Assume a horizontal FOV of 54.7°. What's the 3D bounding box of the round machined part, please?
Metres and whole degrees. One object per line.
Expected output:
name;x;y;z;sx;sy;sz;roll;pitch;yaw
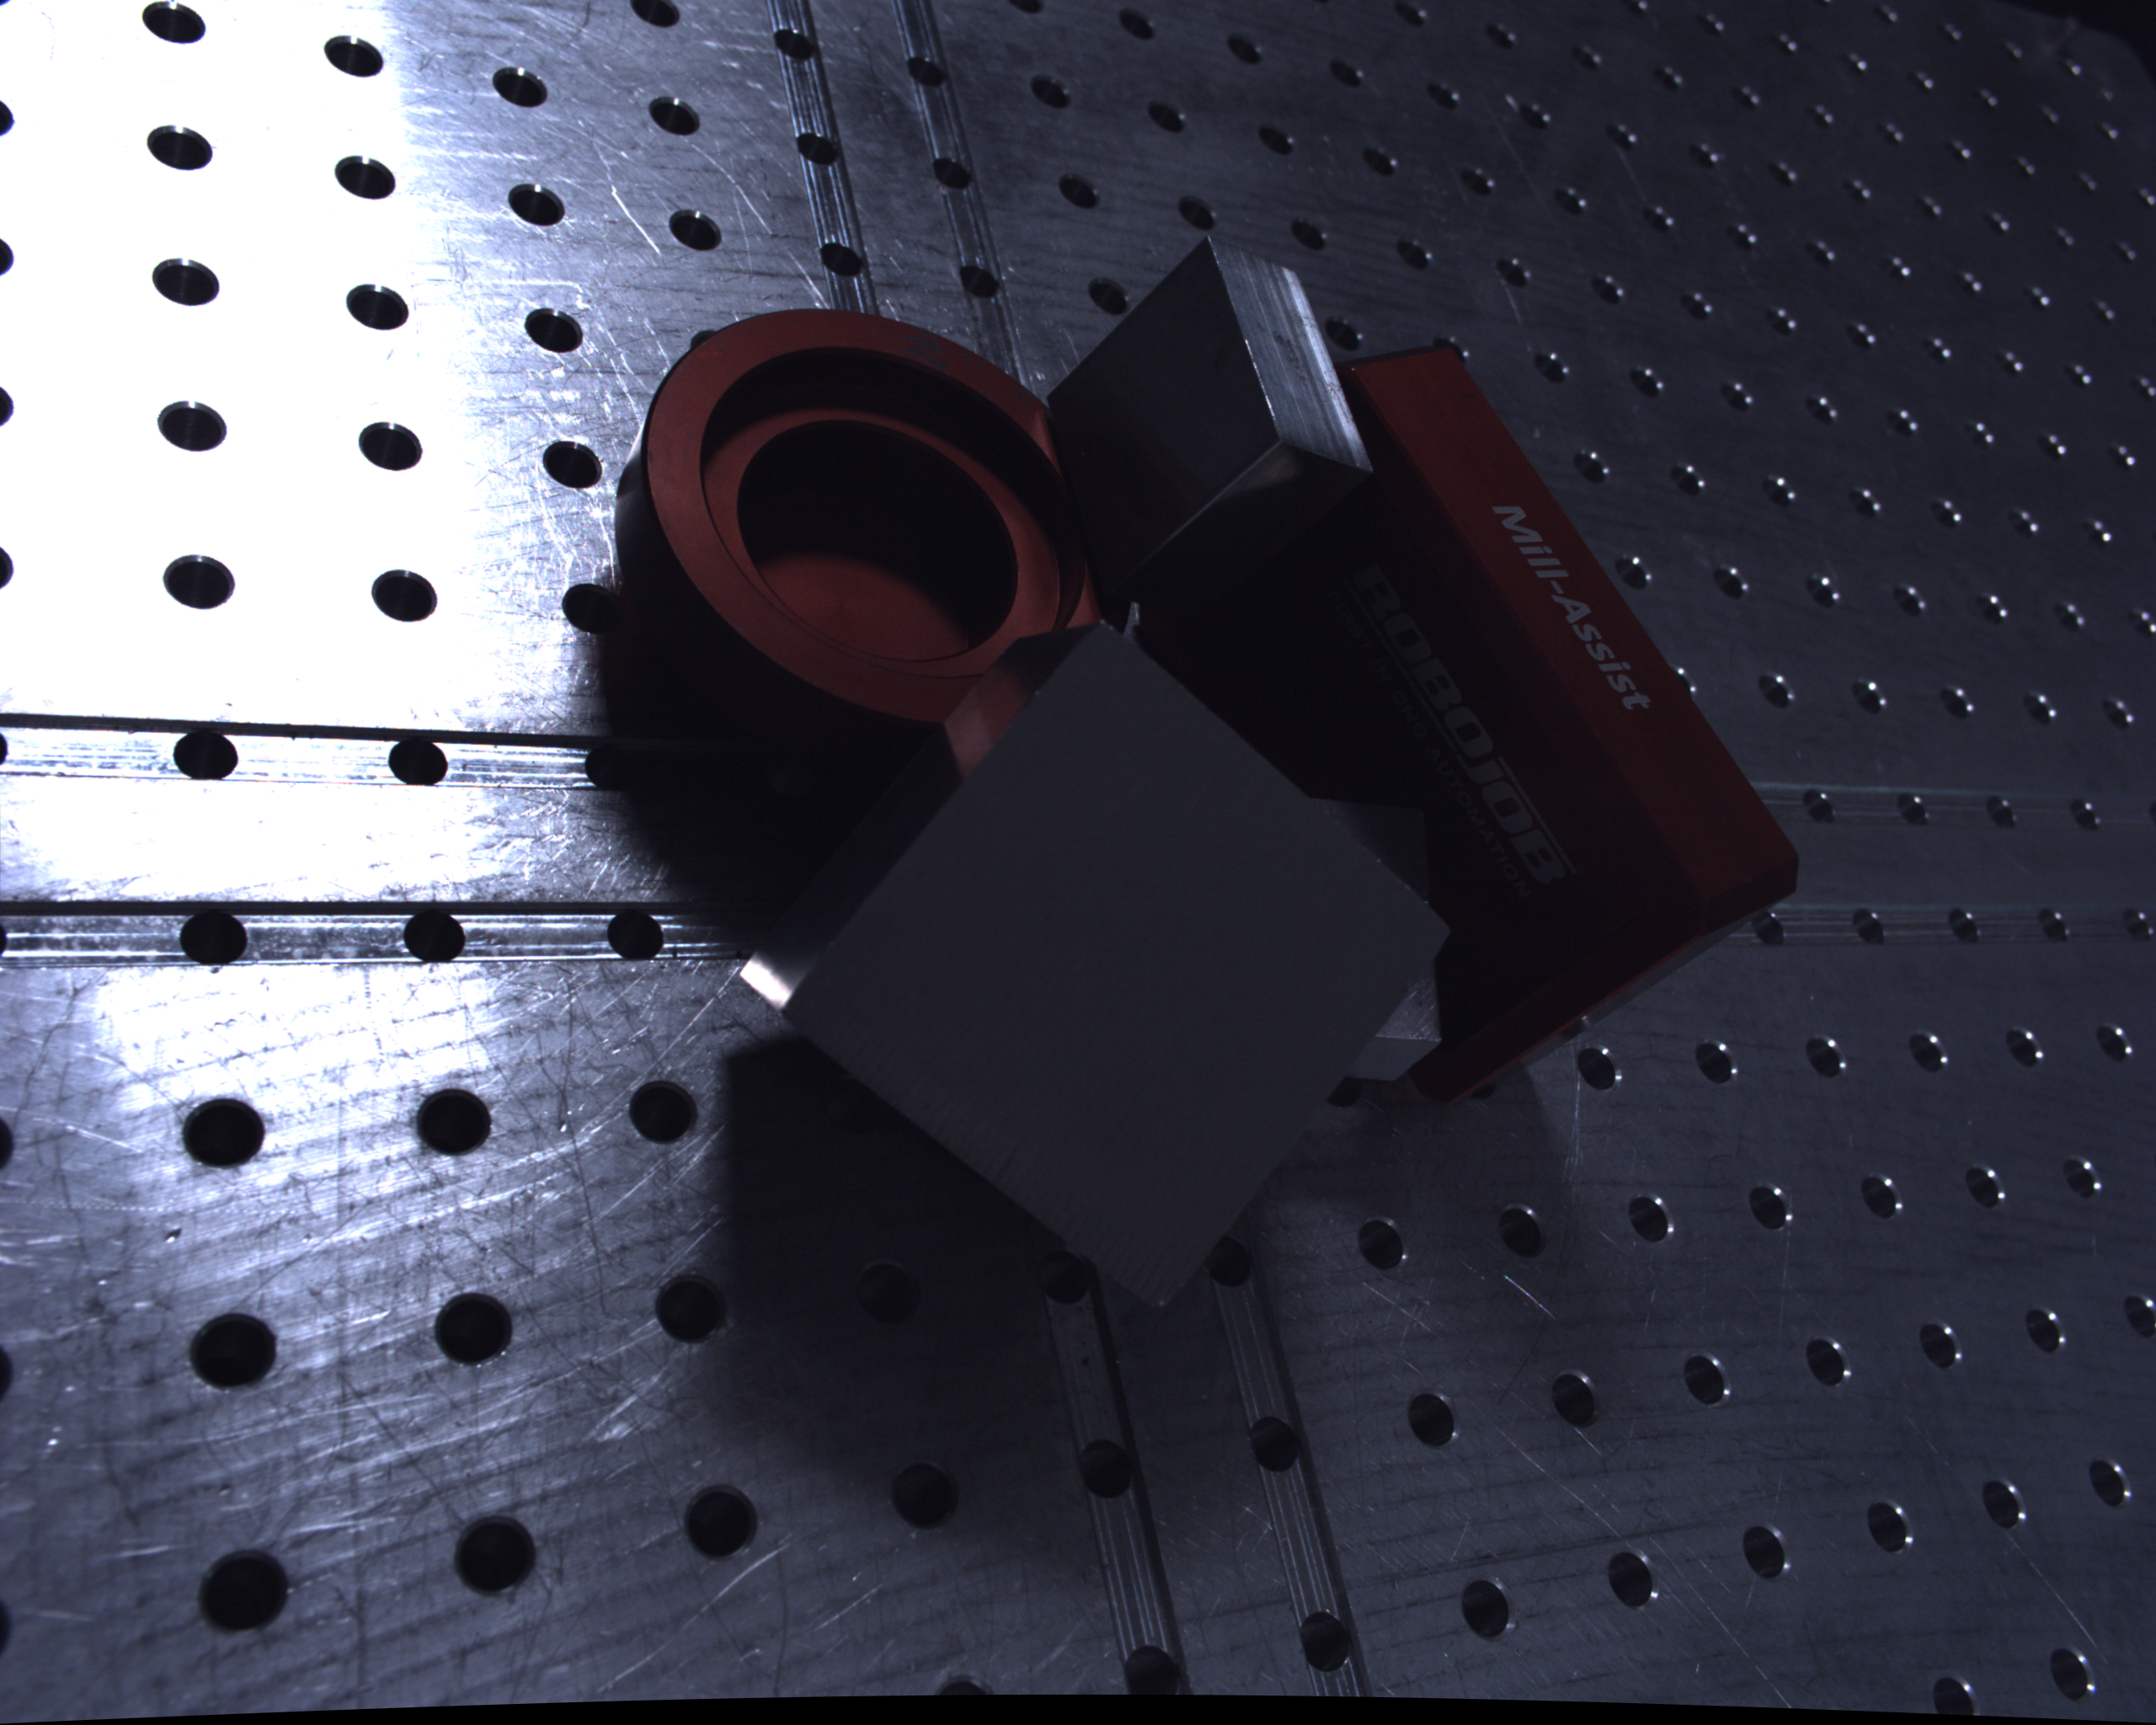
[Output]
round machined part;-0.043;-0.058;0.410;0.099;0.042;0.098;14;56;-21

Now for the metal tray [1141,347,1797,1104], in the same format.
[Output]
metal tray;0.073;-0.027;0.424;0.030;0.090;0.130;-19;72;-36

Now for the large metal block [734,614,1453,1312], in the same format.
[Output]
large metal block;0.001;0.015;0.356;0.080;0.050;0.080;41;82;-15

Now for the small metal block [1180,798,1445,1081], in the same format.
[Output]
small metal block;0.043;0.014;0.418;0.050;0.025;0.050;6;63;-13

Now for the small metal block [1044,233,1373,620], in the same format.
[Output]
small metal block;0.024;-0.083;0.405;0.025;0.050;0.050;9;55;-41
